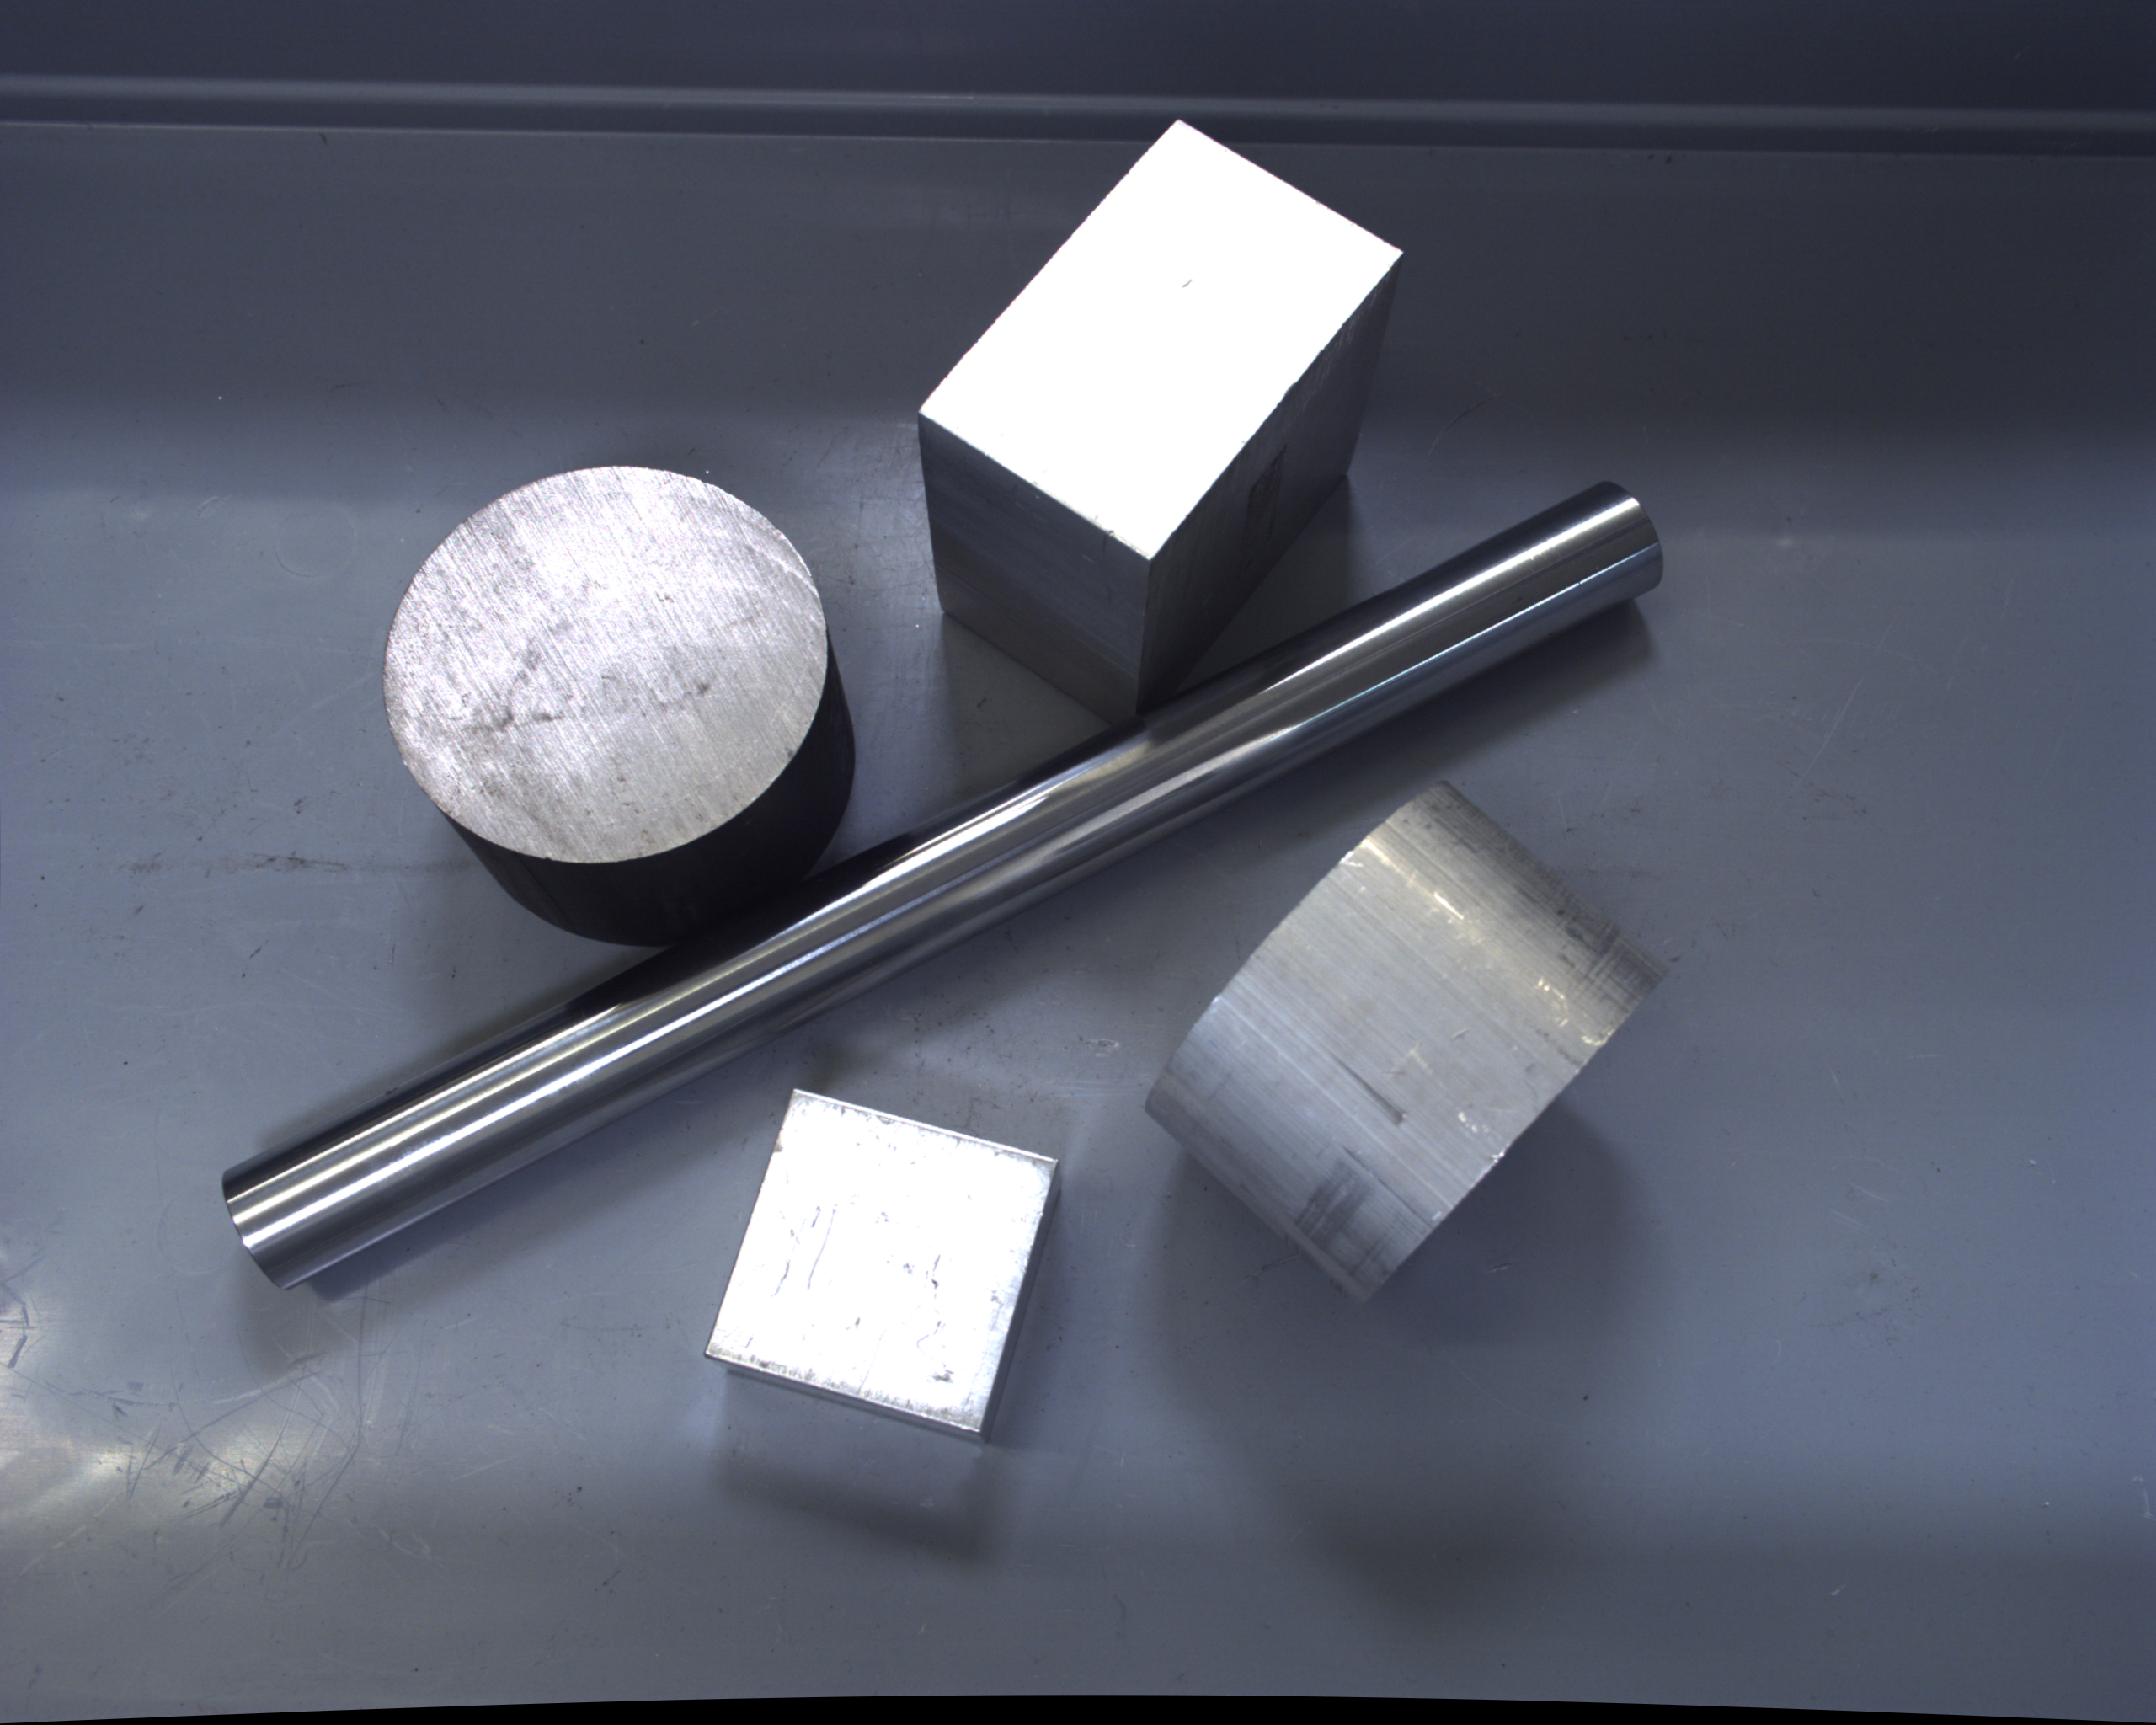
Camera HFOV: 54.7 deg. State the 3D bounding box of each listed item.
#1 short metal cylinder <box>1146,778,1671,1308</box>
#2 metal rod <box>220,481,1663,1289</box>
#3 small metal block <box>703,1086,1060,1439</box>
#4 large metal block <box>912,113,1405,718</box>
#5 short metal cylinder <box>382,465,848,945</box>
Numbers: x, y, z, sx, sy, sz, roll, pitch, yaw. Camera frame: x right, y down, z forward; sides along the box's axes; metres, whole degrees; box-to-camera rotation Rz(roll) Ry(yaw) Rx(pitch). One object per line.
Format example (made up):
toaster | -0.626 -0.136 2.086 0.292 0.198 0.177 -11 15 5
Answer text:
short metal cylinder | 0.058 0.032 0.368 0.050 0.080 0.080 42 75 13
metal rod | -0.018 0.000 0.408 0.302 0.025 0.025 -27 73 -10
small metal block | -0.034 0.074 0.381 0.050 0.025 0.050 14 71 5
large metal block | 0.015 -0.082 0.409 0.050 0.080 0.080 35 74 11
short metal cylinder | -0.087 -0.029 0.404 0.081 0.050 0.080 0 70 0
